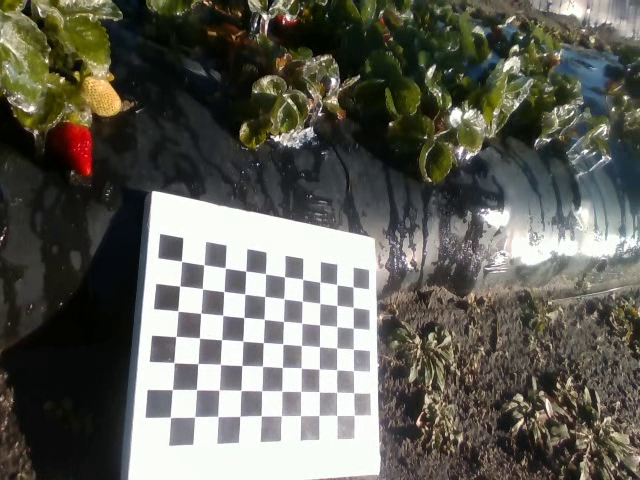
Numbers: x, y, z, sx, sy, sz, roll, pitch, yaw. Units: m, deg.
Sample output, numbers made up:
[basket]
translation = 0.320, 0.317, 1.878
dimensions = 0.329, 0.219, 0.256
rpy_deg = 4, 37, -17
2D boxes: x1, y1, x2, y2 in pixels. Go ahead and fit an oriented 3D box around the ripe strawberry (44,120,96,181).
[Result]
[ripe strawberry]
translation = -0.214, -0.082, 0.555
dimensions = 0.041, 0.052, 0.040
rpy_deg = -10, -13, -40
